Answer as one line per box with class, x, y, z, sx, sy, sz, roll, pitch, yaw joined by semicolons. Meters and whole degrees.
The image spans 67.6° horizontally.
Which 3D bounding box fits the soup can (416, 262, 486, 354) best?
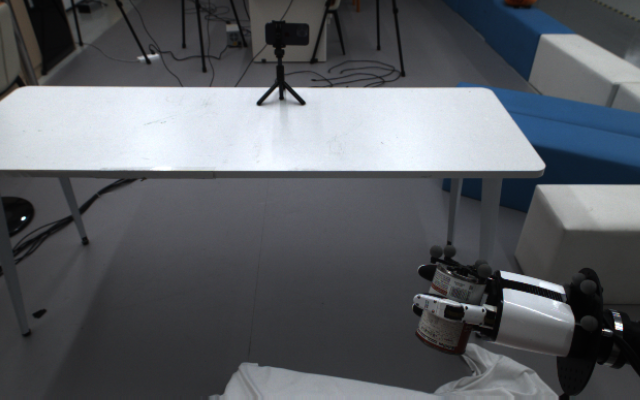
soup can;0.176;0.142;0.641;0.067;0.101;0.067;15;7;-2
